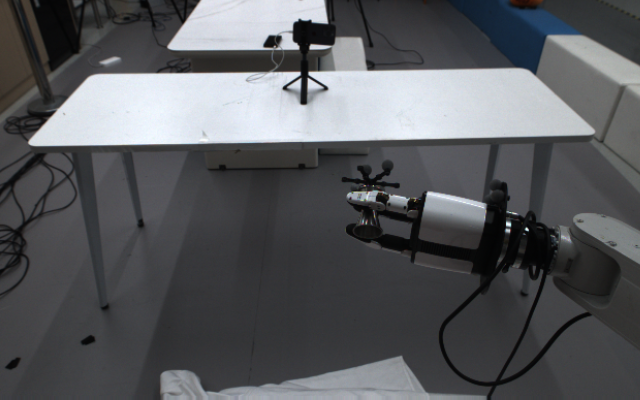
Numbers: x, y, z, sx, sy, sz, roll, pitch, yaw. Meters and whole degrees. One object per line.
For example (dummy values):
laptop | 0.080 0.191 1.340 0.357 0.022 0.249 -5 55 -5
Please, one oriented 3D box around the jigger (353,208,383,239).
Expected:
jigger | 0.069 0.015 0.715 0.043 0.043 0.071 5 60 4
